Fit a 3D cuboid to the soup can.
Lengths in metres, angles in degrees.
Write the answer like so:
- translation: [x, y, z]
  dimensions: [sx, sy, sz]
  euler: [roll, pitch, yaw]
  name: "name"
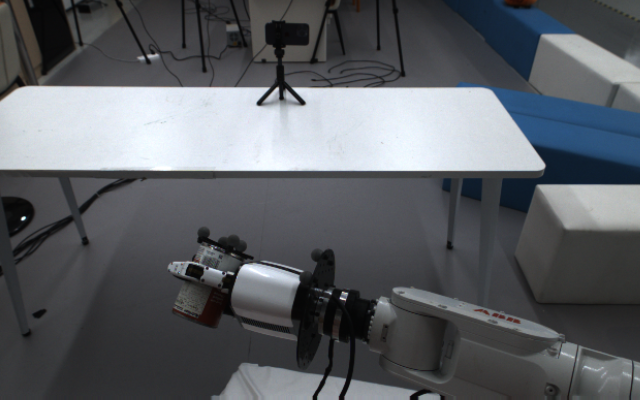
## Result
- translation: [-0.153, 0.119, 0.670]
  dimensions: [0.067, 0.067, 0.101]
  euler: [16, 75, 19]
  name: "soup can"
